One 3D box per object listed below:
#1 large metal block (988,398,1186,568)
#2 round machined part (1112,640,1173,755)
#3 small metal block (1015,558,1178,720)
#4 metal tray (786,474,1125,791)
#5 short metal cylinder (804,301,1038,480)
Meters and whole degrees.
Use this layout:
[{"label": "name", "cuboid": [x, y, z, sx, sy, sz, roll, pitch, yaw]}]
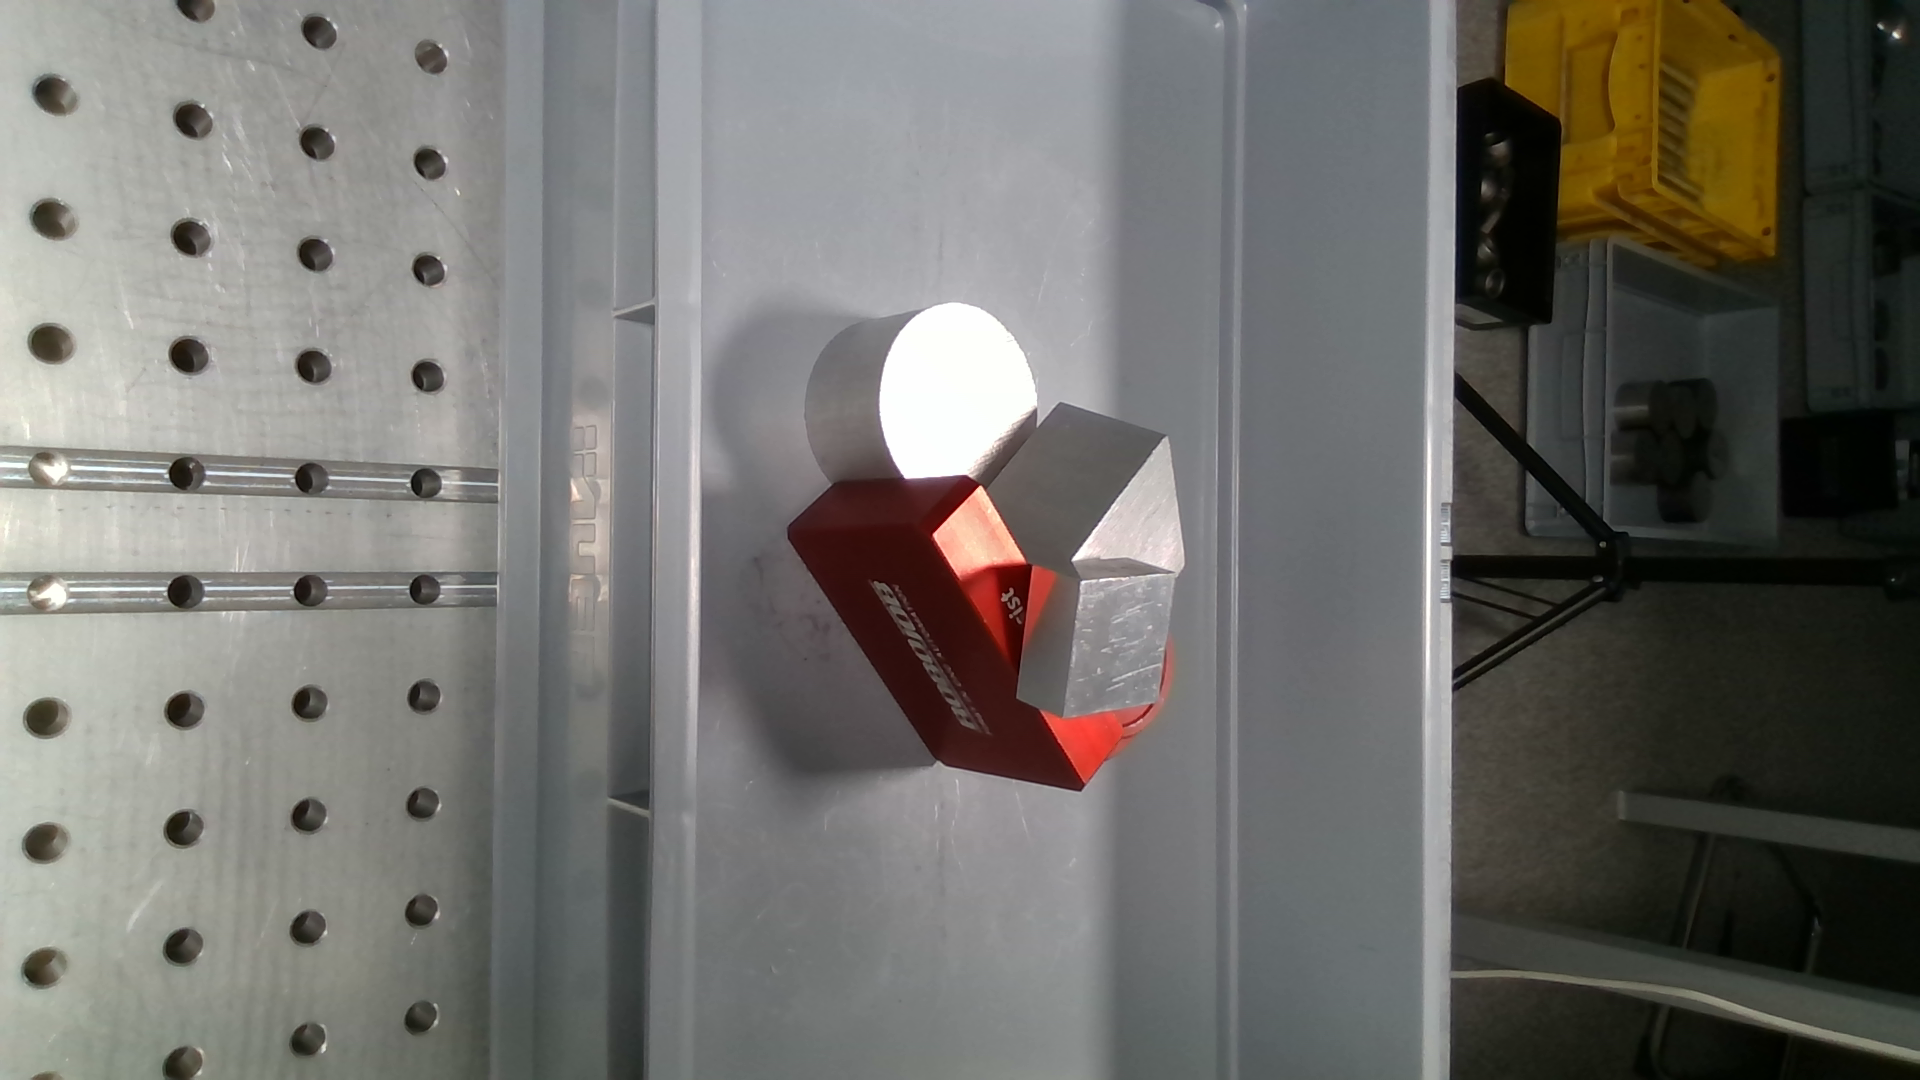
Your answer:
[{"label": "large metal block", "cuboid": [0.047, 0.004, 0.558, 0.080, 0.050, 0.080, -51, 145, -28]}, {"label": "round machined part", "cuboid": [0.058, 0.053, 0.619, 0.098, 0.042, 0.098, 0, 90, -40]}, {"label": "small metal block", "cuboid": [0.050, 0.034, 0.499, 0.050, 0.025, 0.050, -3, 105, -41]}, {"label": "metal tray", "cuboid": [-0.002, 0.037, 0.537, 0.030, 0.090, 0.130, -47, 118, -31]}, {"label": "short metal cylinder", "cuboid": [-0.015, -0.052, 0.552, 0.080, 0.050, 0.080, 0, 90, -40]}]
